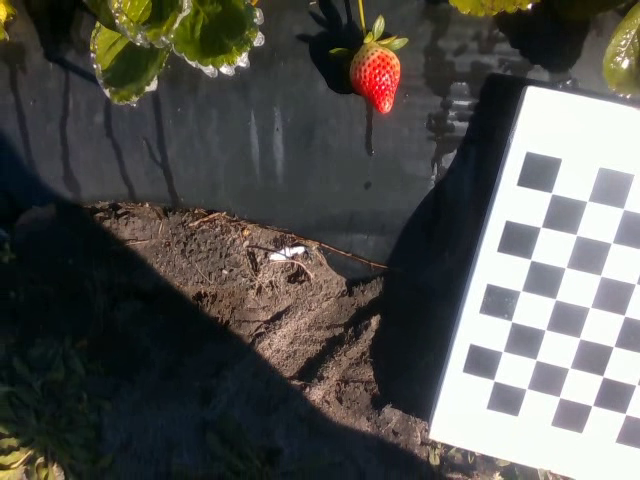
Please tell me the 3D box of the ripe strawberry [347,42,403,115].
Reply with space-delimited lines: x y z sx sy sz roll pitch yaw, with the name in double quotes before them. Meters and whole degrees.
"ripe strawberry" 0.040 -0.107 0.388 0.039 0.053 0.040 -8 -5 11
